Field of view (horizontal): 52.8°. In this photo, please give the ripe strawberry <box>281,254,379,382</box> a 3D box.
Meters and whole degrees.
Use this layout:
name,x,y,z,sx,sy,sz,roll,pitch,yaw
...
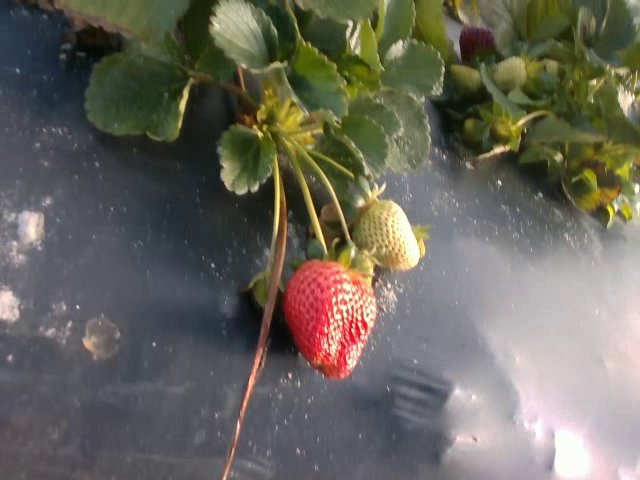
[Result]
name,x,y,z,sx,sy,sz,roll,pitch,yaw
ripe strawberry,0.009,0.034,0.278,0.047,0.050,0.034,18,-22,-25
